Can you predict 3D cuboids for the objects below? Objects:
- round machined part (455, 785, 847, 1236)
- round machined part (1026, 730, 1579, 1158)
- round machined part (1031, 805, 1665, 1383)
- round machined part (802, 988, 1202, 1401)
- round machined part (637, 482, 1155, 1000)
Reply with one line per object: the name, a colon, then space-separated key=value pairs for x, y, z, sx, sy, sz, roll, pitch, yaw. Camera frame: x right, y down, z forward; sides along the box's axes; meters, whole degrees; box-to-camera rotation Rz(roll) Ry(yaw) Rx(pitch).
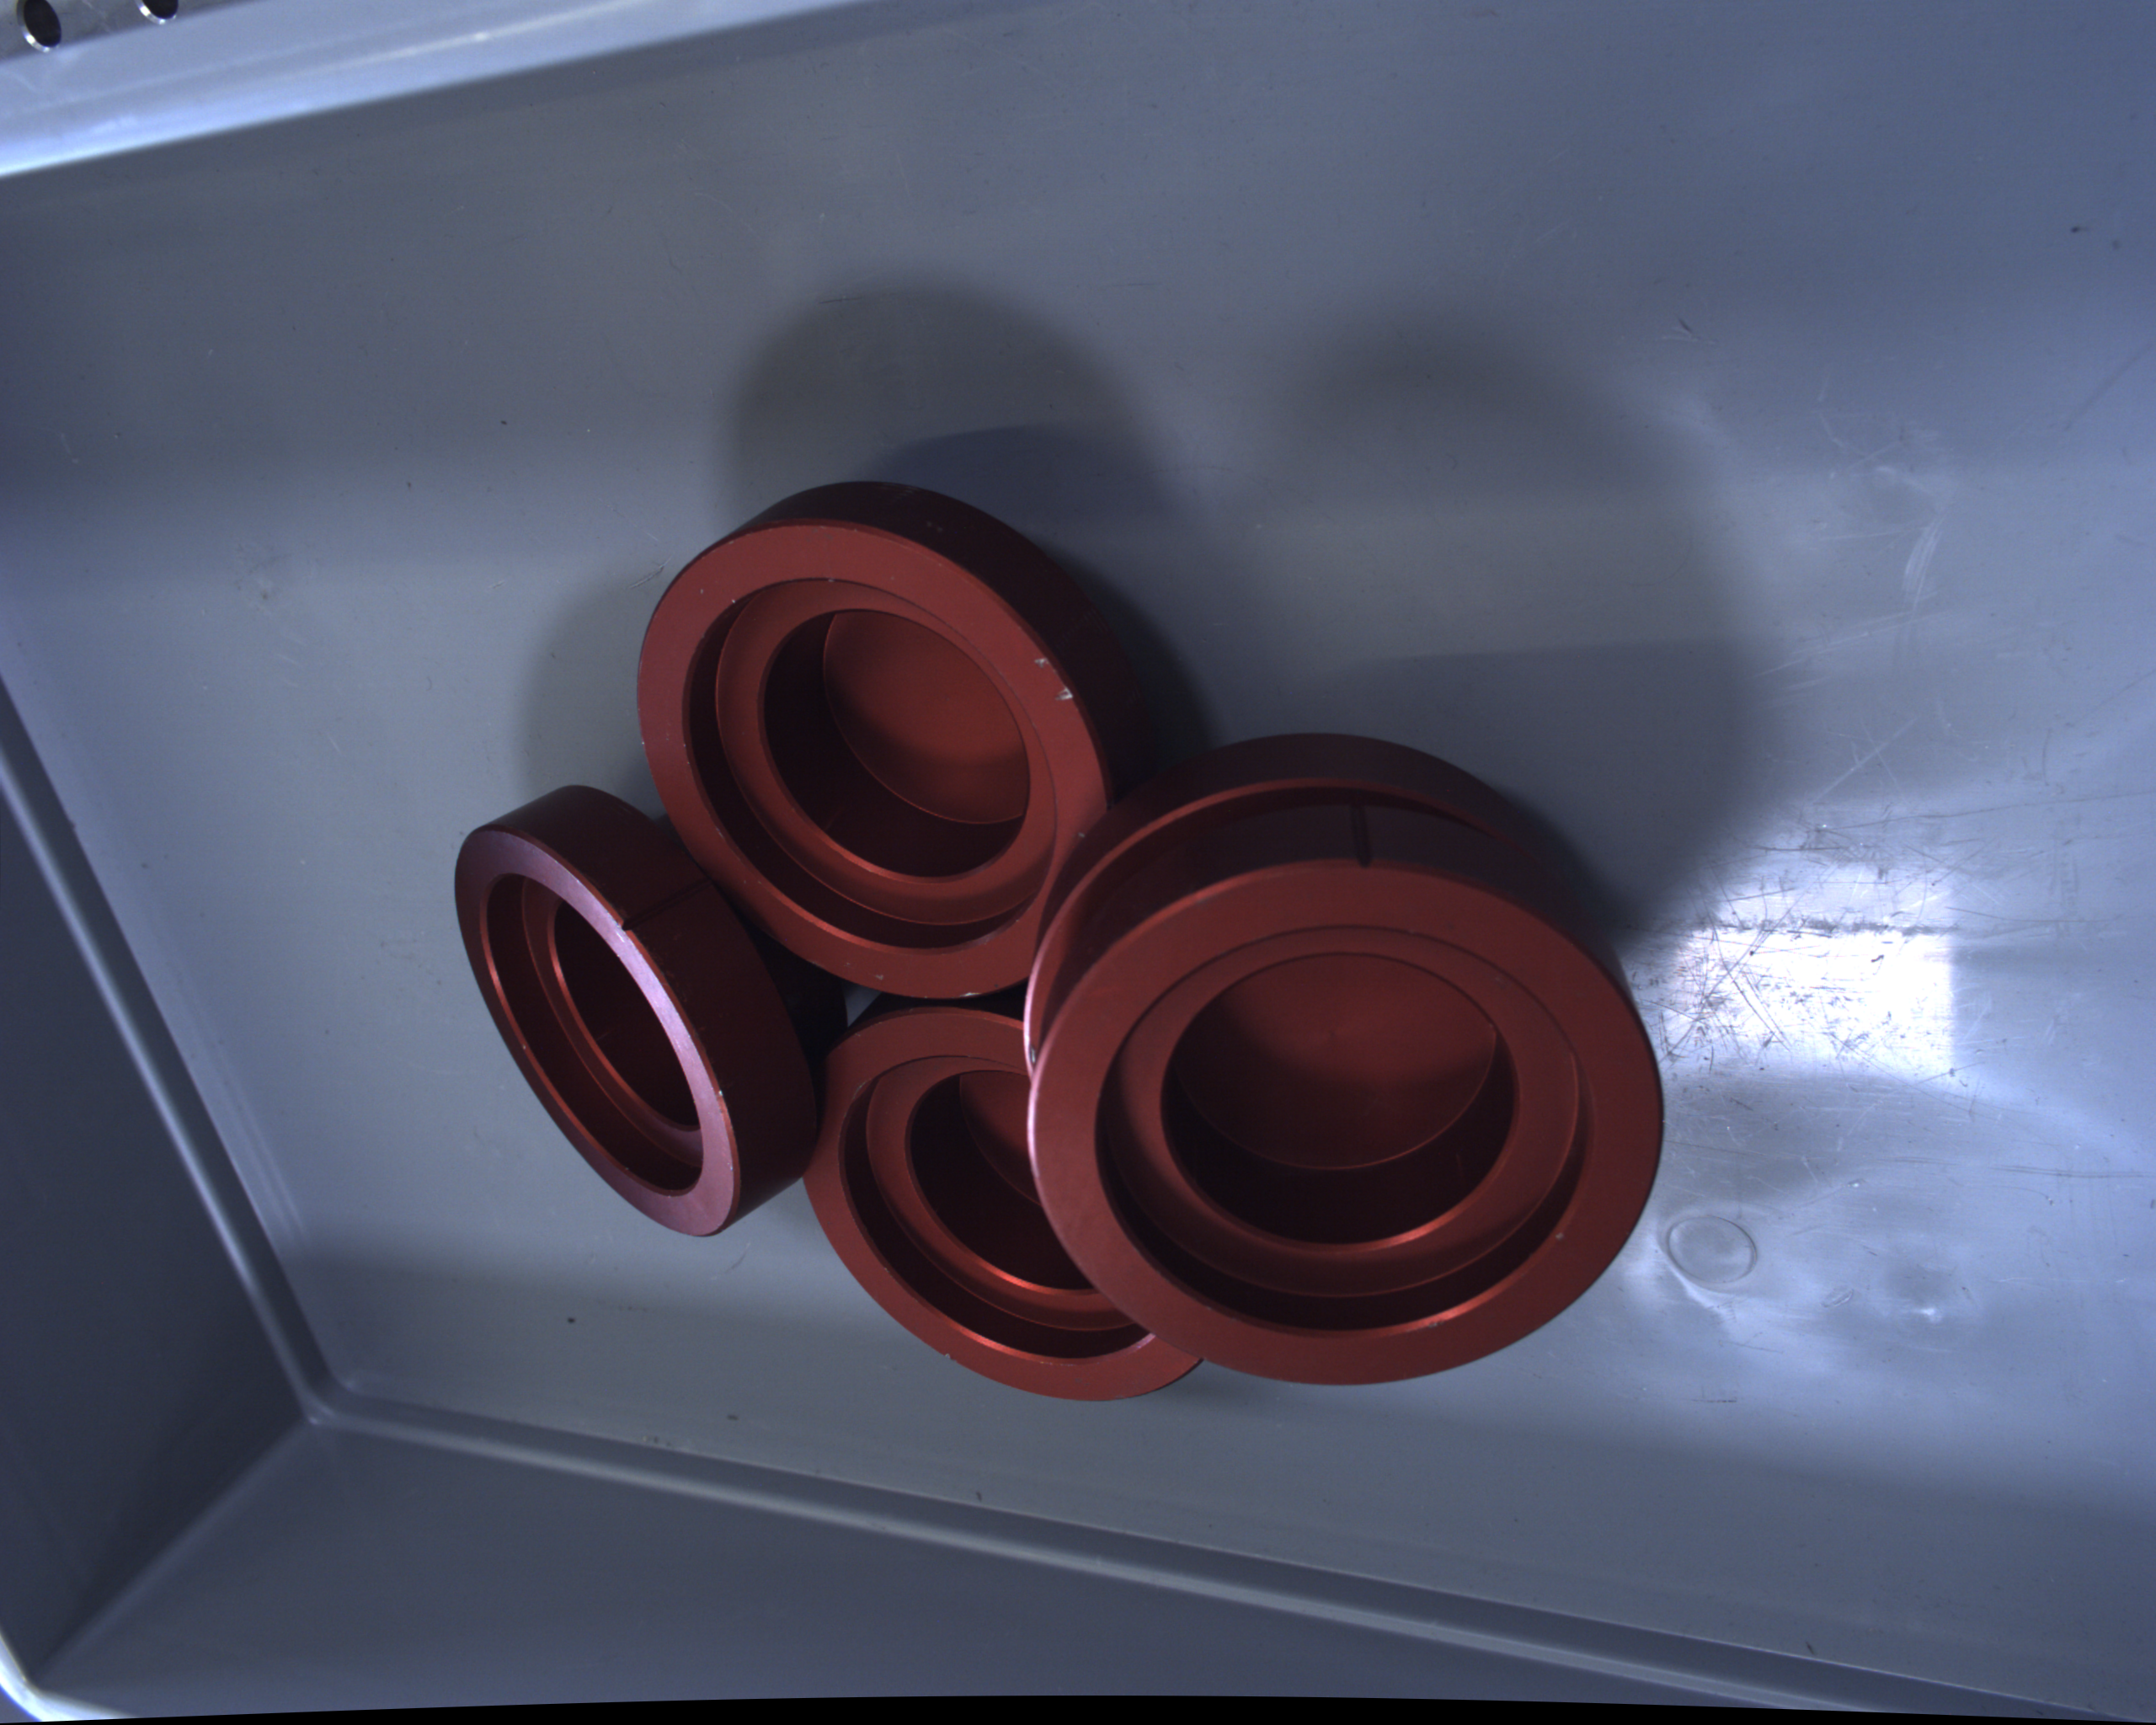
round machined part: x=-0.087 y=0.027 z=0.445 sx=0.098 sy=0.042 sz=0.097 roll=31 pitch=138 yaw=34
round machined part: x=0.041 y=0.021 z=0.373 sx=0.099 sy=0.042 sz=0.097 roll=1 pitch=116 yaw=3
round machined part: x=0.043 y=0.034 z=0.344 sx=0.099 sy=0.042 sz=0.097 roll=1 pitch=116 yaw=3
round machined part: x=-0.006 y=0.061 z=0.436 sx=0.098 sy=0.042 sz=0.097 roll=13 pitch=124 yaw=21
round machined part: x=-0.030 y=-0.026 z=0.395 sx=0.098 sy=0.042 sz=0.097 roll=13 pitch=124 yaw=21
